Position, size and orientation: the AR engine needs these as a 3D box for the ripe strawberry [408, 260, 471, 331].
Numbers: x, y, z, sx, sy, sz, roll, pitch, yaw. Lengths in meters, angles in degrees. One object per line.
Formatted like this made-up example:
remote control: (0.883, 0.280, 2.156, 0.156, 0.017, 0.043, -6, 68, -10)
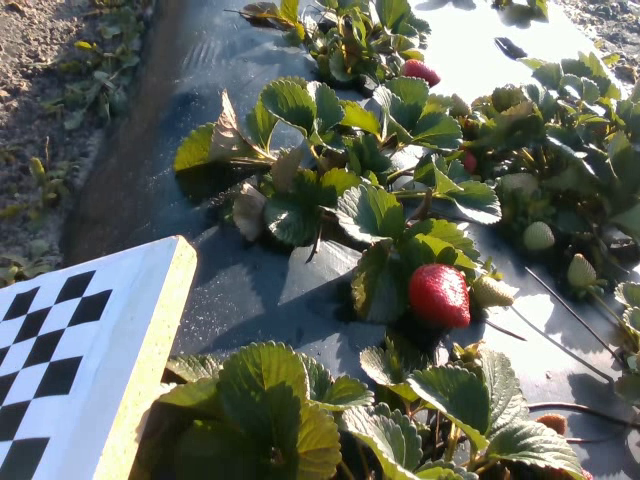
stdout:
ripe strawberry: (0.090, 0.042, 0.459, 0.056, 0.055, 0.072, -32, 28, 3)
